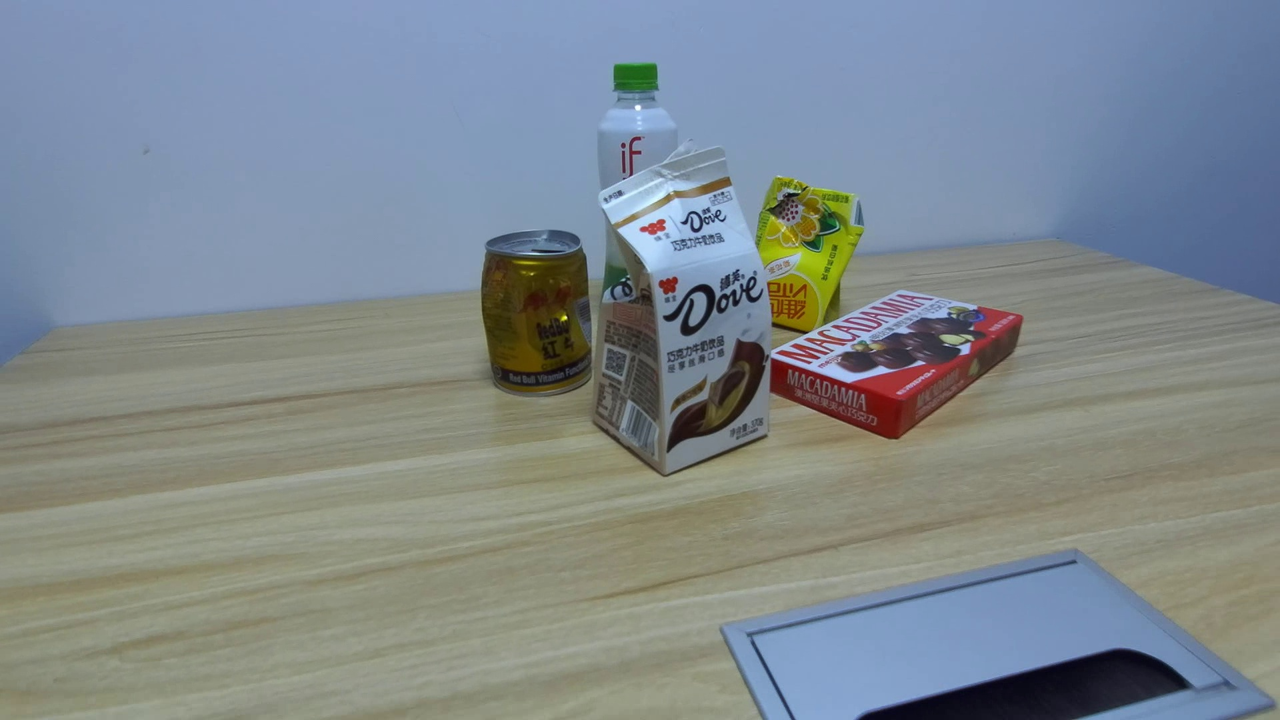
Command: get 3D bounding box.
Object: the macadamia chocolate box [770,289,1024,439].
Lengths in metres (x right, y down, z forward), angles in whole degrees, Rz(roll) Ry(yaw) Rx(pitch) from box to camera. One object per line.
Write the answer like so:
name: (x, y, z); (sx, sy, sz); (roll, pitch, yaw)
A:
macadamia chocolate box: (0.172, -0.005, 0.469); (0.178, 0.027, 0.095); (-22, 31, -40)

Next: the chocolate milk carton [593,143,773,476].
chocolate milk carton: (0.021, -0.032, 0.369); (0.076, 0.155, 0.073); (-15, 25, -30)

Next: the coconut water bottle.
coconut water bottle: (-0.001, -0.116, 0.521); (0.063, 0.188, 0.063); (-1, 18, 1)

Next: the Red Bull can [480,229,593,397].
Red Bull can: (-0.064, -0.031, 0.450); (0.072, 0.092, 0.072); (0, 23, 0)

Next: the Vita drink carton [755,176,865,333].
Vita drink carton: (0.126, -0.080, 0.542); (0.086, 0.108, 0.042); (18, 15, 31)
